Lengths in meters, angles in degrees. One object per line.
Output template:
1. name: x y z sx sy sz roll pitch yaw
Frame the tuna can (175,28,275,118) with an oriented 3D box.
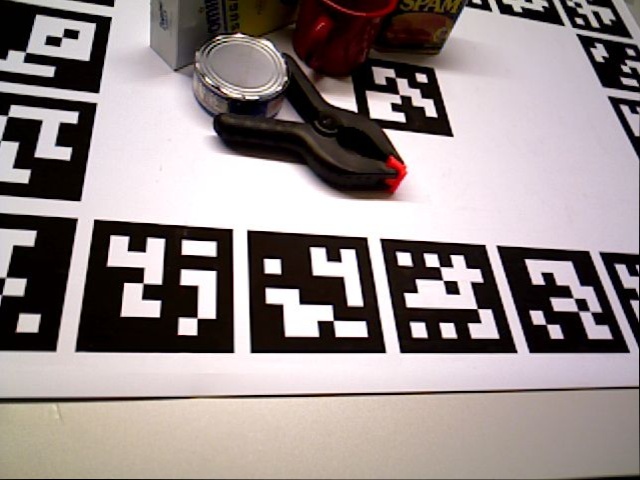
1. tuna can: -0.084 -0.143 0.479 0.085 0.034 0.084 7 61 -13

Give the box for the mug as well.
1. mug: 0.009 -0.210 0.516 0.093 0.083 0.115 26 58 -2

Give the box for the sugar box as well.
1. sugar box: -0.081 -0.230 0.503 0.172 0.095 0.045 -33 73 -32

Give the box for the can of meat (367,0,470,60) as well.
1. can of meat: 0.099 -0.242 0.572 0.100 0.086 0.057 -2 60 -21

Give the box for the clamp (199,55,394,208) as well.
1. clamp: -0.008 -0.086 0.477 0.165 0.037 0.119 37 52 0
